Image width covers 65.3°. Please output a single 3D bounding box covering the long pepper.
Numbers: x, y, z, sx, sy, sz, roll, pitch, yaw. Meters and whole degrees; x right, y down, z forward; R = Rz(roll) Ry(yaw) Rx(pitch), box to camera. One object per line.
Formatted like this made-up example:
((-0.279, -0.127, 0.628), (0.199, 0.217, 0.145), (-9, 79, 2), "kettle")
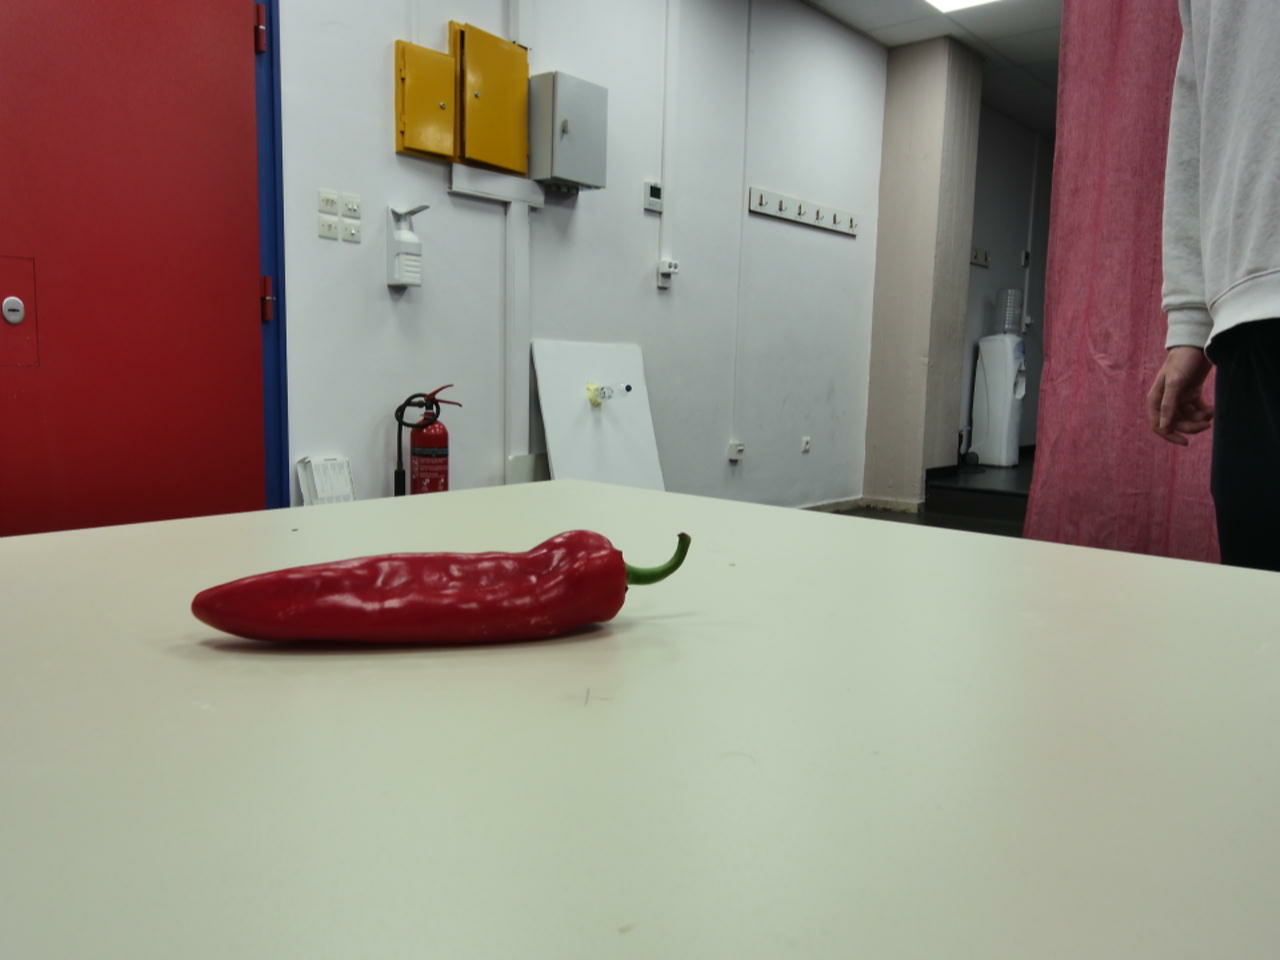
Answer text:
((-0.074, 0.046, 0.425), (0.211, 0.043, 0.050), (-2, 5, -18), "long pepper")
